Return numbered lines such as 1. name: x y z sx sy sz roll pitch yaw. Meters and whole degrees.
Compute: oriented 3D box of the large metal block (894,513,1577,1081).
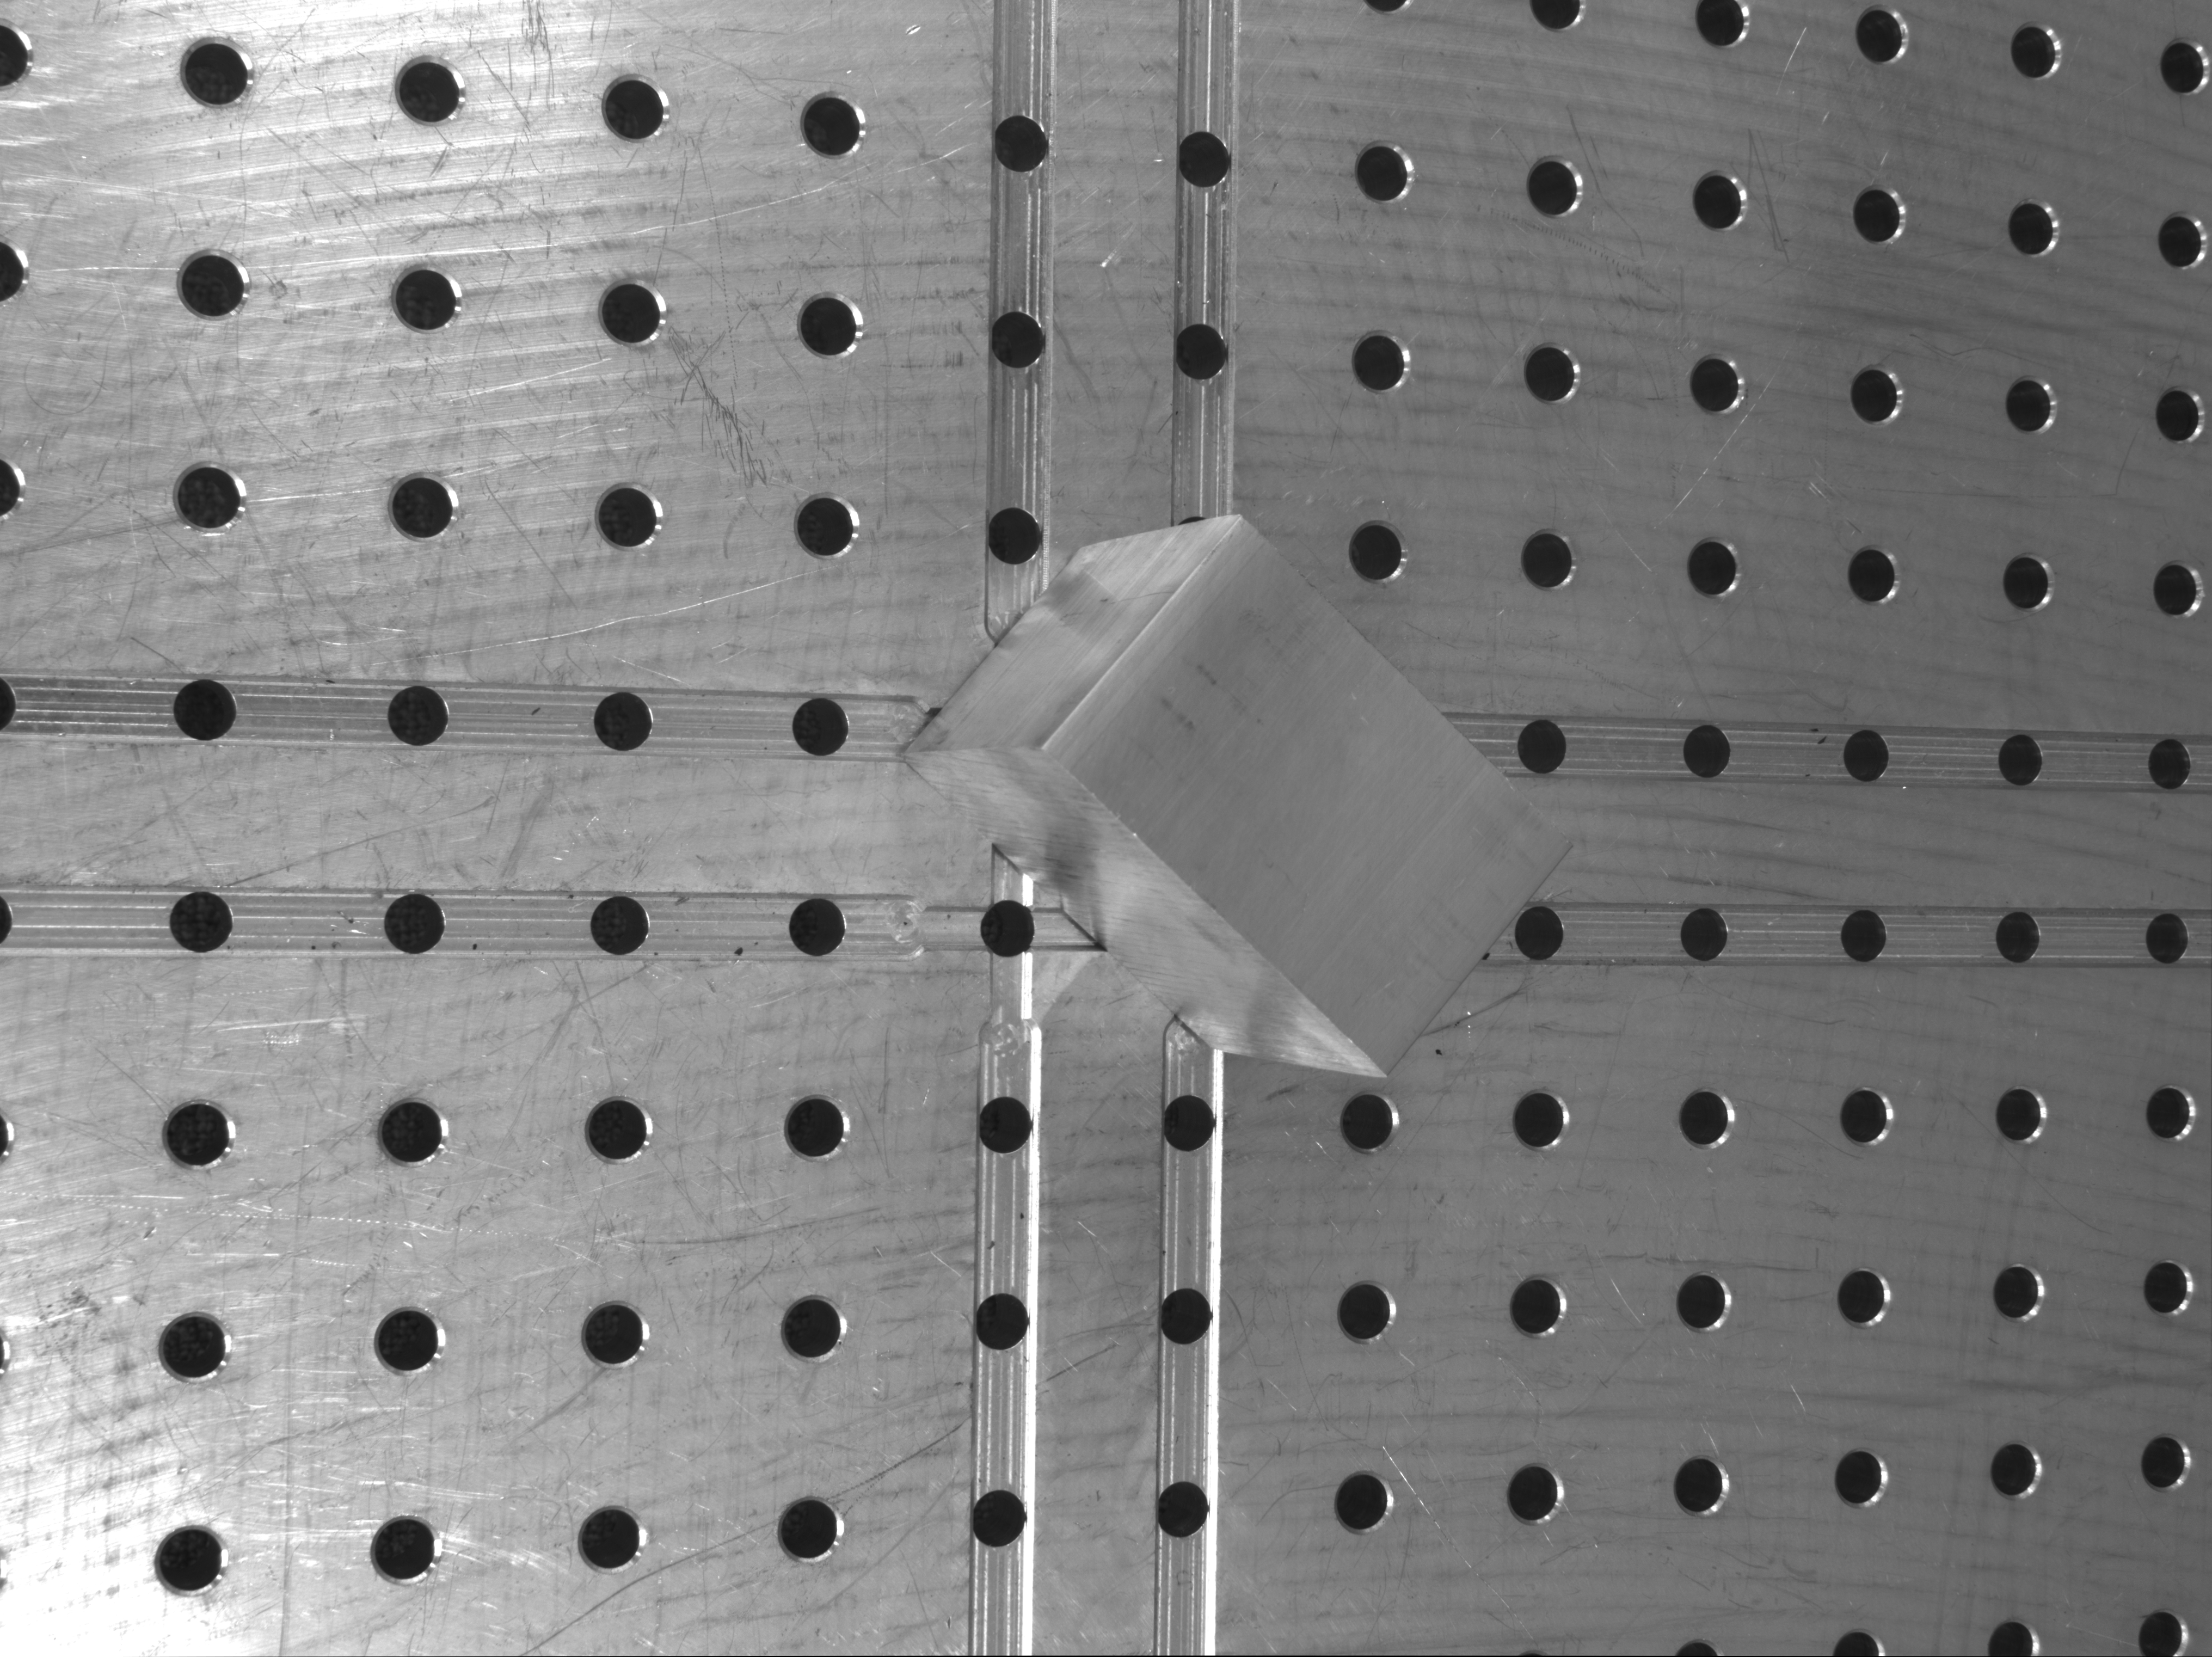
1. large metal block: 0.020 -0.005 0.624 0.080 0.080 0.050 43 77 -15
